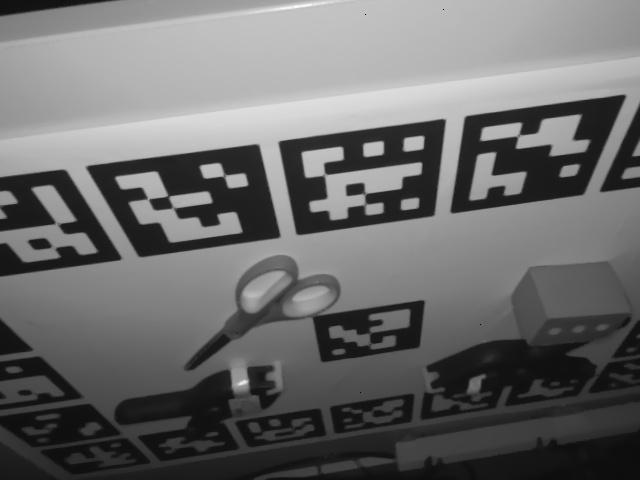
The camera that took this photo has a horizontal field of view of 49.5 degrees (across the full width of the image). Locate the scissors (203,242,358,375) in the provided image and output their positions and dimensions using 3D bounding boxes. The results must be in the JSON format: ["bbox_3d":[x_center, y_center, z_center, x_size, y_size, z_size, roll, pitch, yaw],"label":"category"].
[{"bbox_3d":[-0.049,0.072,0.598,0.088,0.016,0.199,25,132,-25],"label":"scissors"}]

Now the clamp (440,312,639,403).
[{"bbox_3d":[0.227,0.135,0.720,0.203,0.037,0.164,-10,144,3],"label":"clamp"}]

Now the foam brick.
[{"bbox_3d":[0.232,0.052,0.612,0.078,0.051,0.052,-7,140,-10],"label":"foam brick"}]

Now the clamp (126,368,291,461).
[{"bbox_3d":[-0.097,0.172,0.707,0.163,0.037,0.122,-27,131,20],"label":"clamp"}]
